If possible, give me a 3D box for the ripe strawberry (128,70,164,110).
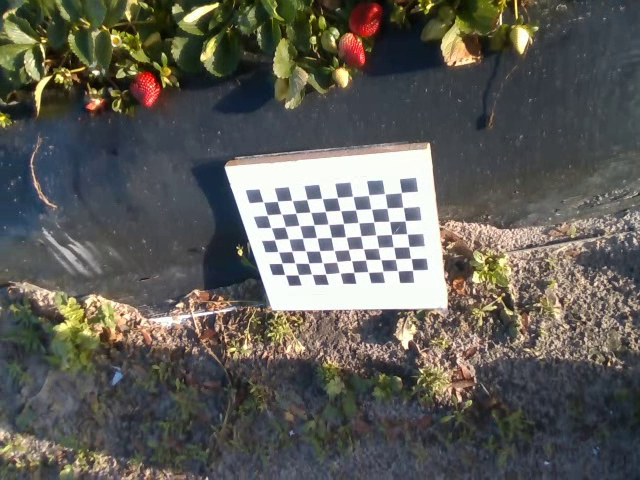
[{"bbox_3d":[-0.252,-0.210,0.900,0.052,0.052,0.041,-33,-36,30],"label":"ripe strawberry"}]
